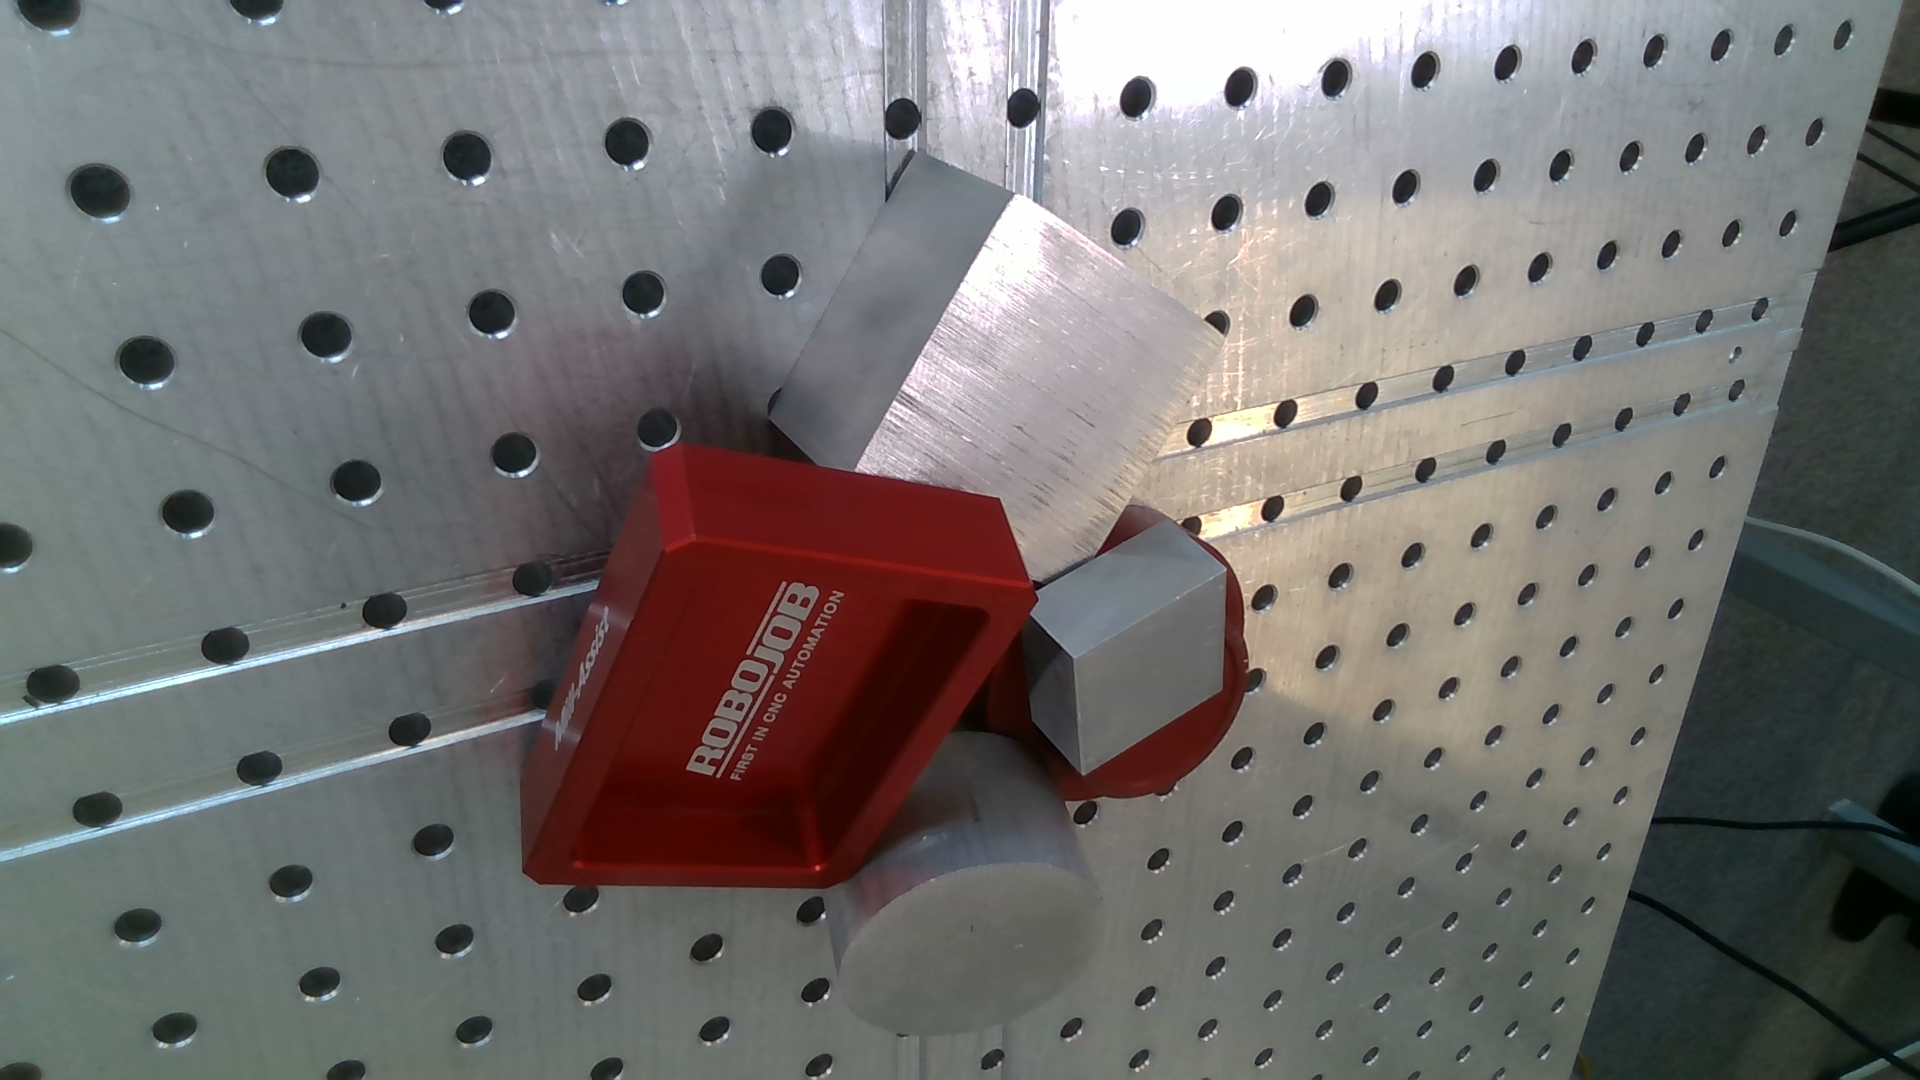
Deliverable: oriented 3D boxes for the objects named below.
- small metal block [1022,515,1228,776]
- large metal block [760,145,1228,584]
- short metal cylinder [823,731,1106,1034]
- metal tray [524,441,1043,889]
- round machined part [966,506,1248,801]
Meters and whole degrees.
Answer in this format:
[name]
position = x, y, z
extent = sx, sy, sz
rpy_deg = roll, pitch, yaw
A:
[small metal block]
position = 0.045, 0.029, 0.376
extent = 0.050, 0.025, 0.050
rpy_deg = -29, 138, -19
[large metal block]
position = 0.009, -0.042, 0.359
extent = 0.080, 0.050, 0.080
rpy_deg = 25, 100, -38
[short metal cylinder]
position = -0.002, 0.104, 0.417
extent = 0.080, 0.050, 0.080
rpy_deg = -9, 130, -11
[metal tray]
position = -0.049, 0.039, 0.344
extent = 0.090, 0.030, 0.130
rpy_deg = 9, 132, -28
[round machined part]
position = 0.051, 0.042, 0.436
extent = 0.098, 0.042, 0.098
rpy_deg = -14, 122, -25
